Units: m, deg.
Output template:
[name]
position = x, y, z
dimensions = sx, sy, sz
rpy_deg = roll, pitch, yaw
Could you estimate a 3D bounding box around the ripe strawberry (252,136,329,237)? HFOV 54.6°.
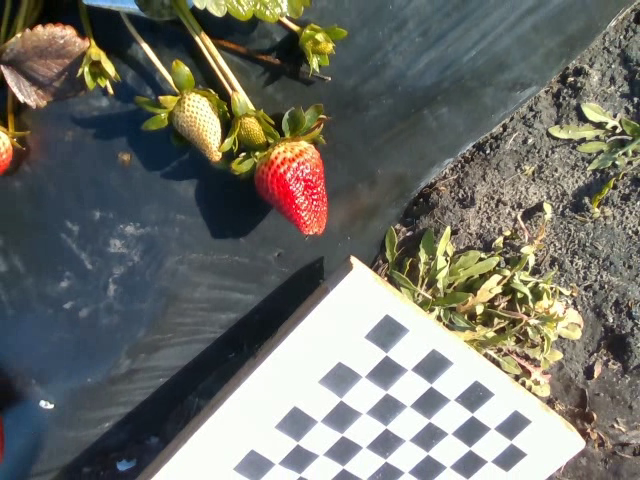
[ripe strawberry]
position = -0.012, -0.024, 0.315
dimensions = 0.042, 0.059, 0.042
rpy_deg = -28, 16, 1
